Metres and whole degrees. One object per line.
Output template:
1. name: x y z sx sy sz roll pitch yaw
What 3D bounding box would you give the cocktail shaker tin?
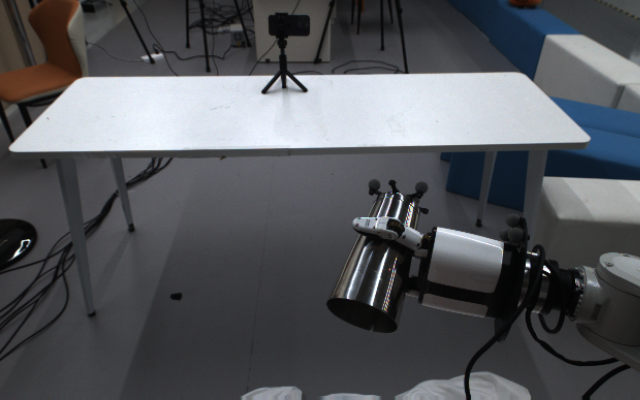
1. cocktail shaker tin: 0.079 0.074 0.633 0.093 0.093 0.170 14 57 16
